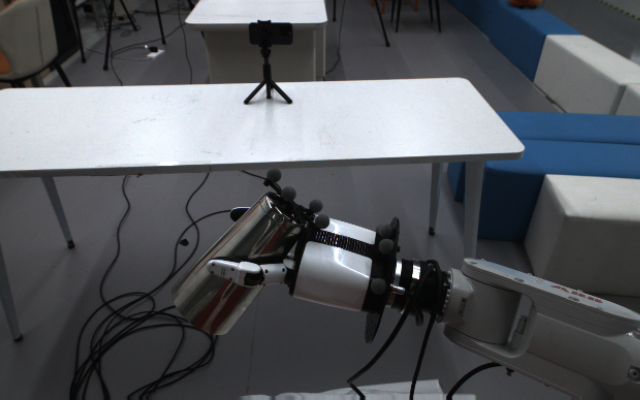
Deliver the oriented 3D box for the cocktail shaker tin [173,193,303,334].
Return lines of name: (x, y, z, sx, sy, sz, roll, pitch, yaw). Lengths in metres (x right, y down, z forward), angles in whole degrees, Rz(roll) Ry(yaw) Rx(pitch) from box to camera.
cocktail shaker tin: (-0.094, 0.069, 0.600, 0.093, 0.170, 0.093, 41, 14, -12)
